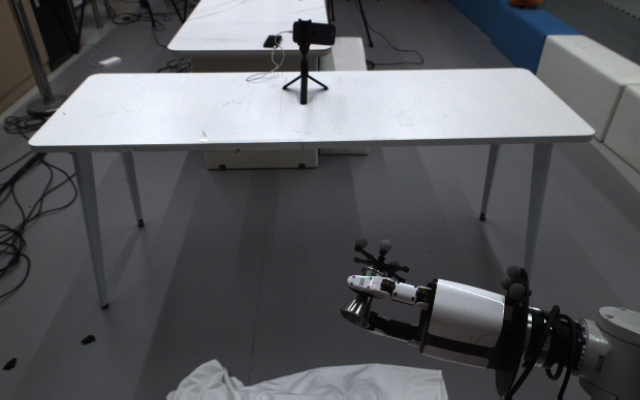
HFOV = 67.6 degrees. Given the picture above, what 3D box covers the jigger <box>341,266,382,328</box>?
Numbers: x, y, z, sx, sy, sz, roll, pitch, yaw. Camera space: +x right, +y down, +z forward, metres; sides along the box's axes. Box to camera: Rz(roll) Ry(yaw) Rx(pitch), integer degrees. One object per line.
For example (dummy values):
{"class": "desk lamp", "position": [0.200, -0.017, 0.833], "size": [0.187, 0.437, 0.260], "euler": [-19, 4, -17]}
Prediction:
{"class": "jigger", "position": [0.059, 0.124, 0.639], "size": [0.043, 0.043, 0.071], "euler": [19, 61, 23]}
